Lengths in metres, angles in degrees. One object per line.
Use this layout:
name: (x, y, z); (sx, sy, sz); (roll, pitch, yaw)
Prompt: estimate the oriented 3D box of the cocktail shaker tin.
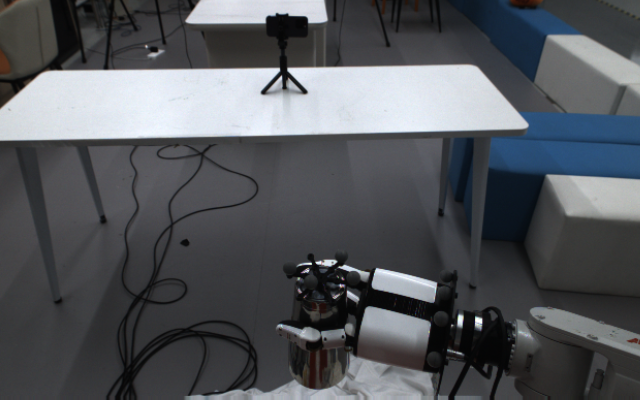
cocktail shaker tin: (0.004, 0.169, 0.665); (0.093, 0.170, 0.093); (0, 39, 0)
